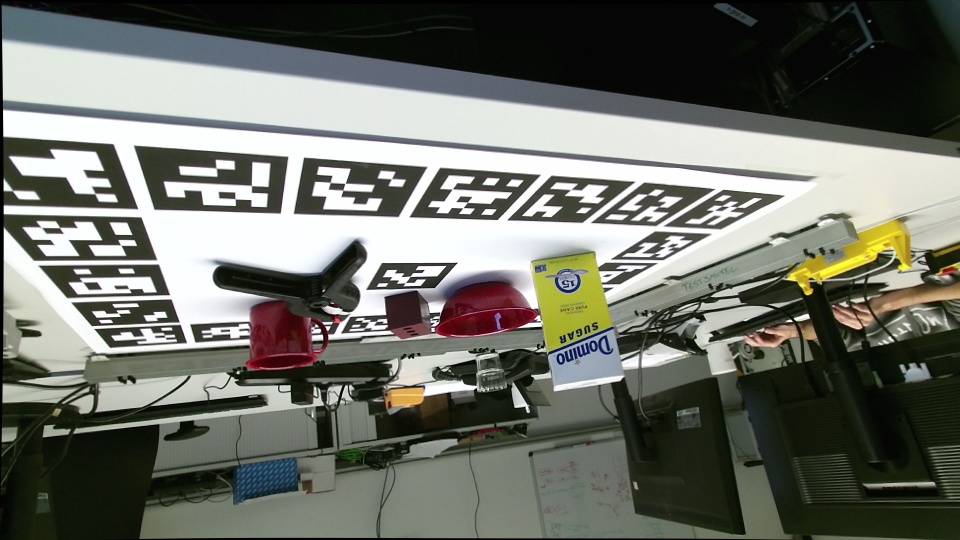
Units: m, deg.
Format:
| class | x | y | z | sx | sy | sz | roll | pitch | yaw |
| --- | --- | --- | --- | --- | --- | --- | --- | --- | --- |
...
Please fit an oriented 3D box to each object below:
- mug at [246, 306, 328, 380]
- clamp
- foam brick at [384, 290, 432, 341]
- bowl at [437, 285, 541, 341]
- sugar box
| class | x | y | z | sx | sy | sz | roll | pitch | yaw |
| --- | --- | --- | --- | --- | --- | --- | --- | --- | --- |
| mug | -0.270 | 0.104 | 0.759 | 0.093 | 0.081 | 0.117 | -29 | 148 | 35 |
| clamp | -0.198 | 0.032 | 0.673 | 0.166 | 0.036 | 0.203 | -12 | 156 | -3 |
| foam brick | -0.108 | 0.071 | 0.814 | 0.053 | 0.051 | 0.078 | -13 | 156 | 1 |
| bowl | 0.010 | 0.066 | 0.835 | 0.162 | 0.055 | 0.162 | -9 | 156 | -4 |
| sugar box | 0.136 | 0.062 | 0.731 | 0.093 | 0.175 | 0.045 | -10 | 155 | 0 |
